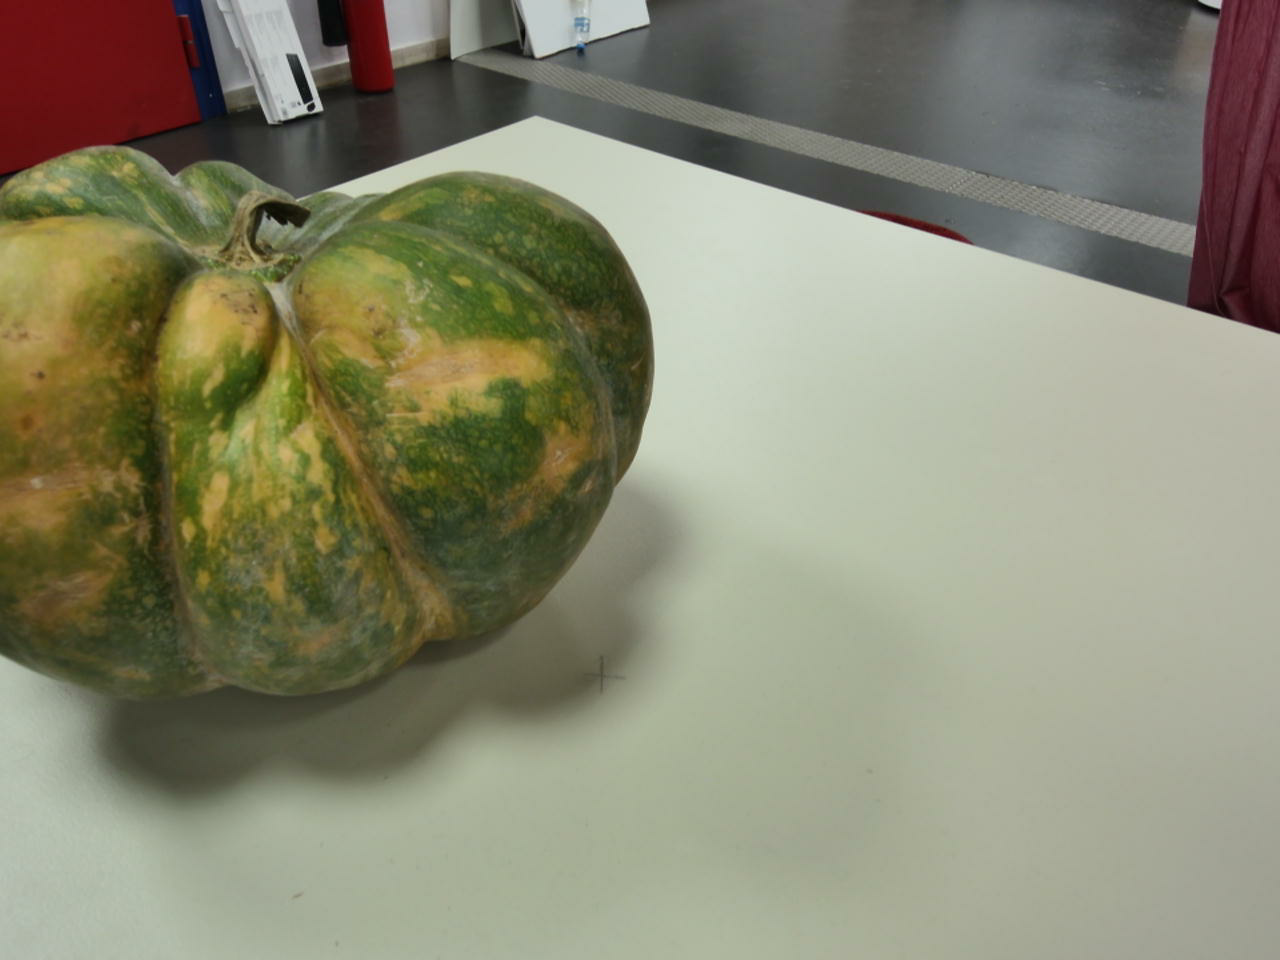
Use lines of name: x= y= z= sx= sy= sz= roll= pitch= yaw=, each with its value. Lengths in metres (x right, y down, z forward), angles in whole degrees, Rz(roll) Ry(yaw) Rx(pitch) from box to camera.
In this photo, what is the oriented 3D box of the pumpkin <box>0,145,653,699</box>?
pumpkin: x=-0.131 y=-0.033 z=0.361 sx=0.270 sy=0.173 sz=0.237 roll=-9 pitch=37 yaw=-12
